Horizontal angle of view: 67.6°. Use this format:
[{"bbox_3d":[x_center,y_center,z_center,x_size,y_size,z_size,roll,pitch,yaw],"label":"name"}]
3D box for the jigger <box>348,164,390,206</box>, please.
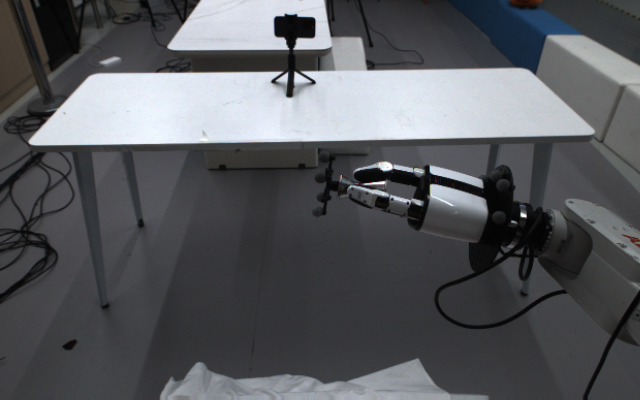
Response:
[{"bbox_3d":[0.068,-0.018,0.709,0.071,0.043,0.043,8,35,5],"label":"jigger"}]
